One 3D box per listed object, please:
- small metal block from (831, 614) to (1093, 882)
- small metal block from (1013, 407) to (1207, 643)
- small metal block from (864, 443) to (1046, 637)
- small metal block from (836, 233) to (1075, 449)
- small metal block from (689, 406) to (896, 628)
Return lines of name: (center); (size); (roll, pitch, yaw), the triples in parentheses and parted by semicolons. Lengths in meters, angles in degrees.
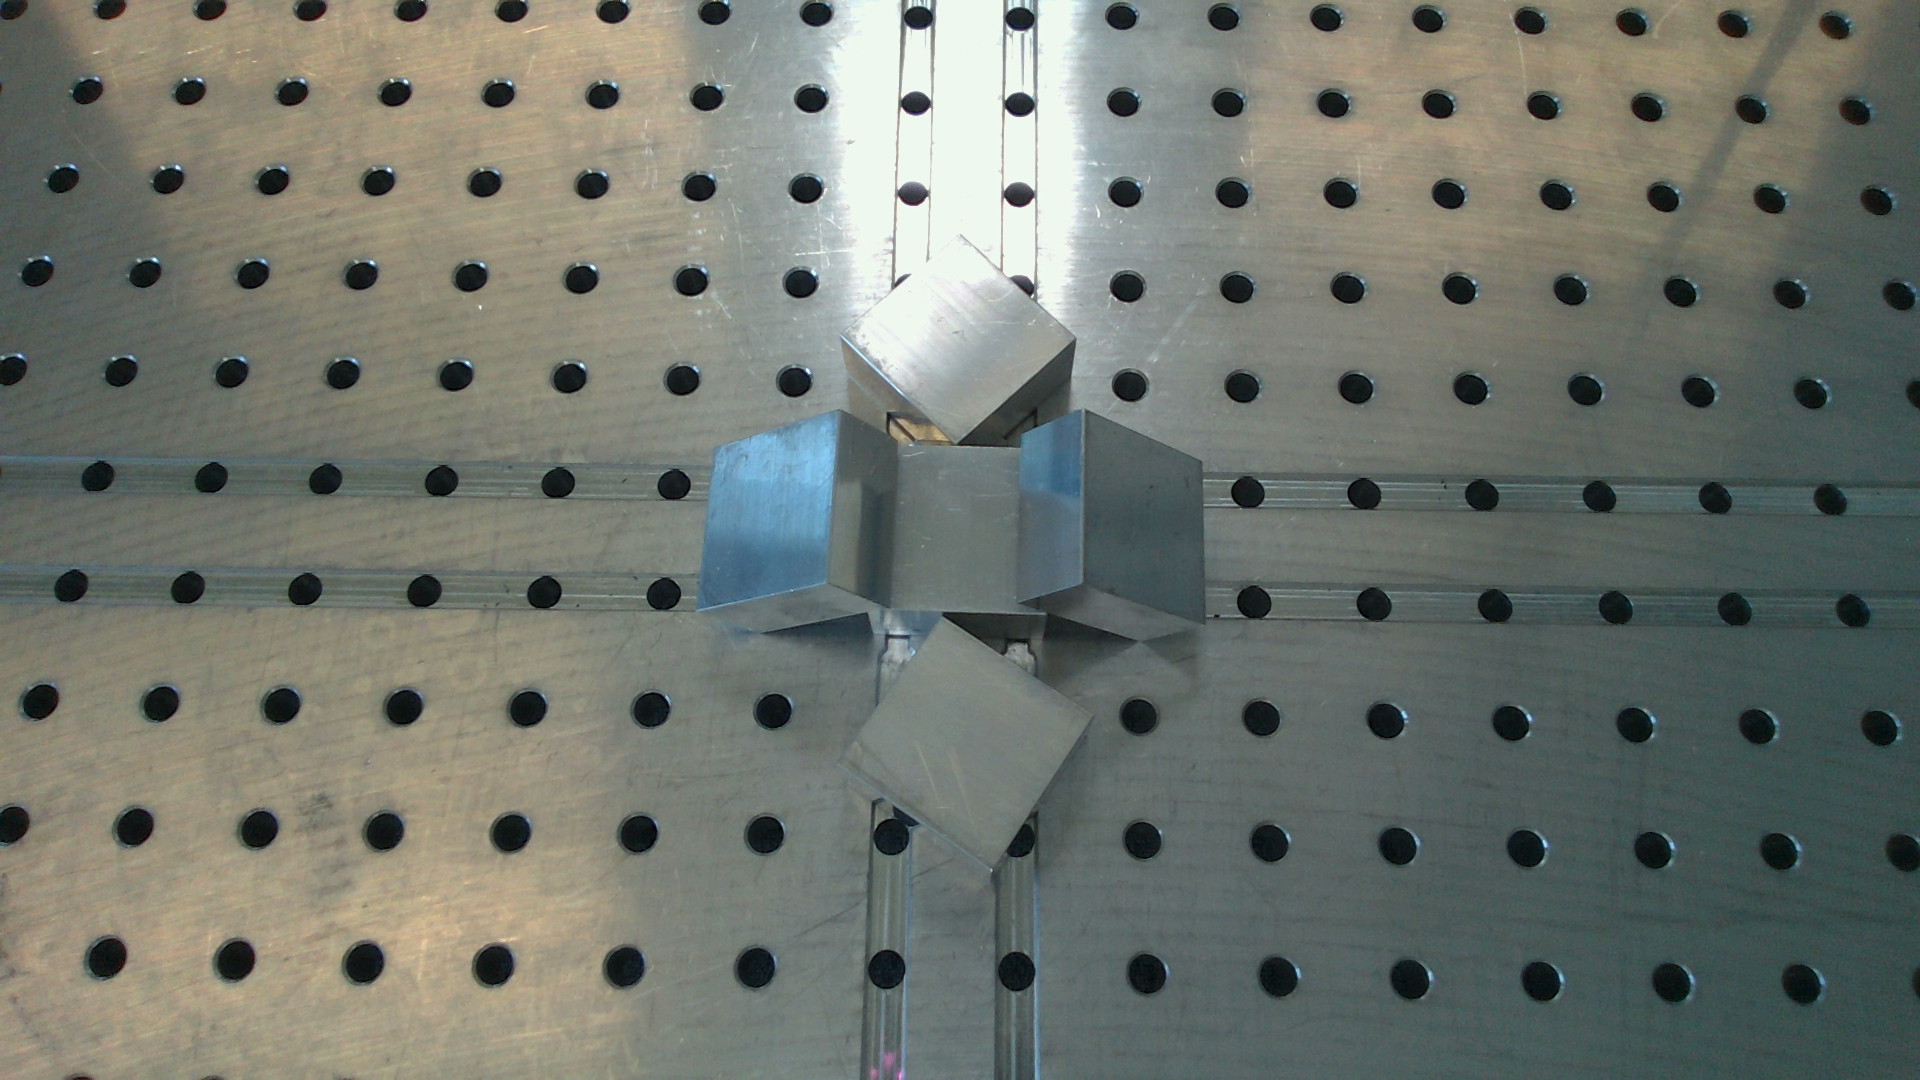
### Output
small metal block: (0.001, 0.057, 0.375); (0.050, 0.025, 0.050); (32, 74, 12)
small metal block: (0.043, -0.003, 0.384); (0.050, 0.025, 0.050); (19, 64, -37)
small metal block: (-0.001, 0.000, 0.396); (0.050, 0.025, 0.050); (1, 69, 0)
small metal block: (-0.001, -0.056, 0.418); (0.050, 0.025, 0.050); (-42, 74, -14)
small metal block: (-0.047, -0.005, 0.385); (0.050, 0.025, 0.050); (-12, 66, 35)
